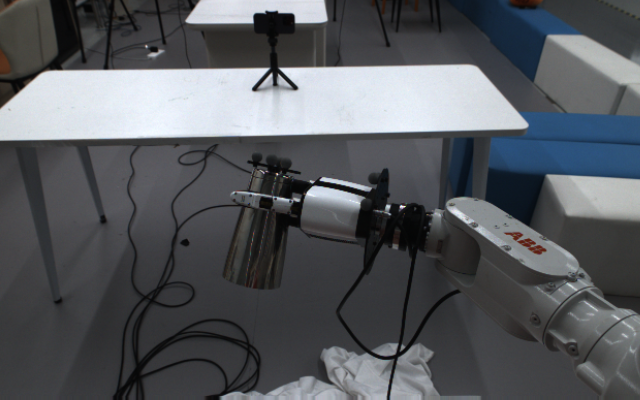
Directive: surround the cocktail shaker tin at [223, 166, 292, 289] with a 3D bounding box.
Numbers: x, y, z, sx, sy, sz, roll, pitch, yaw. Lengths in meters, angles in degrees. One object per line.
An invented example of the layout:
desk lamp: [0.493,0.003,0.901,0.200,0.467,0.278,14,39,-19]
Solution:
cocktail shaker tin: [-0.088,0.039,0.746,0.093,0.170,0.093,13,3,-1]
